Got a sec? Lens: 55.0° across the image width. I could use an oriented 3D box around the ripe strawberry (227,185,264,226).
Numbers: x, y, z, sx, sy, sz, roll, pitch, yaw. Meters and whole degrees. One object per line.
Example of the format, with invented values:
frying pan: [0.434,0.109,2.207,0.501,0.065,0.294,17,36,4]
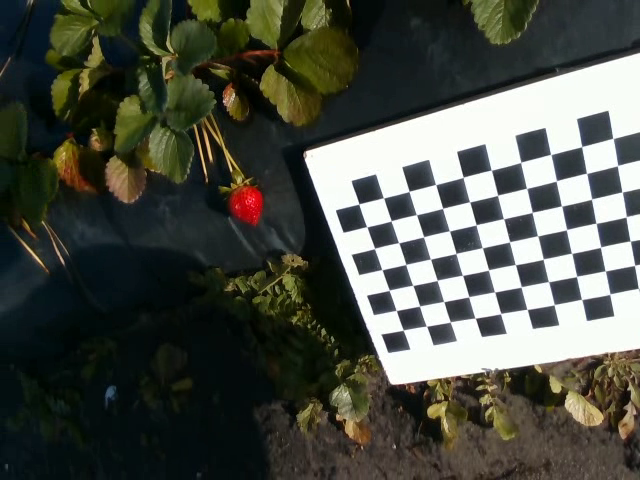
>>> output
ripe strawberry: [-0.067,-0.029,0.569,0.040,0.044,0.036,-33,2,26]
